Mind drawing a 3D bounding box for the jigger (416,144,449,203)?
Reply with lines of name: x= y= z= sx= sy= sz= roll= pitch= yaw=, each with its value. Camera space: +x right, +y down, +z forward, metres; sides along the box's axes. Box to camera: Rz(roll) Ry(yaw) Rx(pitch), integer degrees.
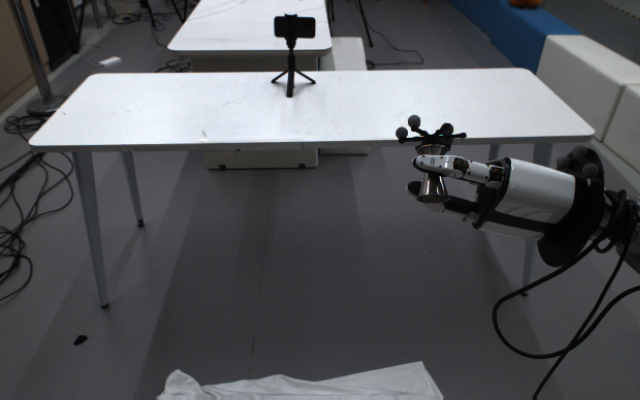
jigger: x=0.147 y=-0.036 z=0.634 sx=0.043 sy=0.043 sz=0.071 roll=3 pitch=76 yaw=1
